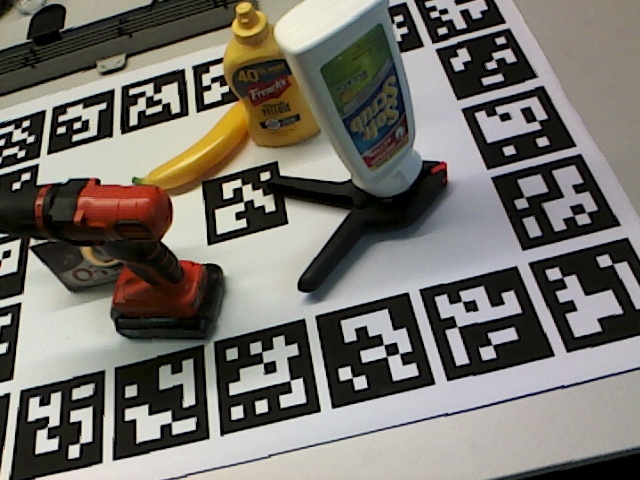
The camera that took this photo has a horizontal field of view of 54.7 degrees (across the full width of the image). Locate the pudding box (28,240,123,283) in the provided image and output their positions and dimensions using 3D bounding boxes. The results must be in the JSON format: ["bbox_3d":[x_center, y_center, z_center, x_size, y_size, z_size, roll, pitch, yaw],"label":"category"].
[{"bbox_3d":[-0.265,0.004,0.728,0.114,0.089,0.039,-10,49,8],"label":"pudding box"}]

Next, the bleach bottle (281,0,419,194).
[{"bbox_3d":[0.054,-0.127,0.615,0.102,0.249,0.068,-33,51,1],"label":"bleach bottle"}]

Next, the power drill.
[{"bbox_3d":[-0.212,0.018,0.612,0.185,0.186,0.057,-4,50,16],"label":"power drill"}]

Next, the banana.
[{"bbox_3d":[-0.154,-0.141,0.817,0.197,0.038,0.075,-47,42,-16],"label":"banana"}]

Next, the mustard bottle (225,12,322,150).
[{"bbox_3d":[-0.061,-0.190,0.744,0.096,0.190,0.058,-2,57,13],"label":"mustard bottle"}]

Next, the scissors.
[{"bbox_3d":[-0.288,-0.034,0.681,0.203,0.016,0.088,10,65,15],"label":"scissors"}]

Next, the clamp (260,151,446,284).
[{"bbox_3d":[0.045,-0.051,0.694,0.203,0.036,0.166,-19,57,1],"label":"clamp"}]
